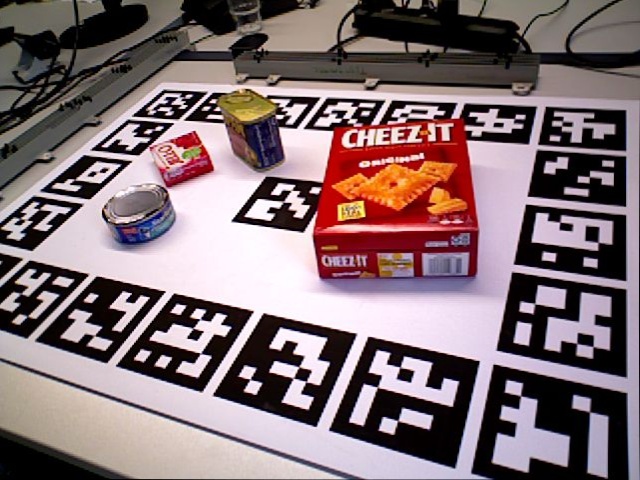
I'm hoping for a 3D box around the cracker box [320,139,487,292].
[{"bbox_3d":[0.092,-0.036,0.617,0.164,0.073,0.209,-1,39,9],"label":"cracker box"}]

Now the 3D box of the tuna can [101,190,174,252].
[{"bbox_3d":[-0.232,-0.025,0.694,0.086,0.034,0.084,-8,43,7],"label":"tuna can"}]

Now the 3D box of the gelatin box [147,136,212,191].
[{"bbox_3d":[-0.208,-0.115,0.803,0.072,0.031,0.089,-20,43,-16],"label":"gelatin box"}]

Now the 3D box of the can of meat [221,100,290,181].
[{"bbox_3d":[-0.090,-0.142,0.777,0.057,0.085,0.102,-30,43,-23],"label":"can of meat"}]
